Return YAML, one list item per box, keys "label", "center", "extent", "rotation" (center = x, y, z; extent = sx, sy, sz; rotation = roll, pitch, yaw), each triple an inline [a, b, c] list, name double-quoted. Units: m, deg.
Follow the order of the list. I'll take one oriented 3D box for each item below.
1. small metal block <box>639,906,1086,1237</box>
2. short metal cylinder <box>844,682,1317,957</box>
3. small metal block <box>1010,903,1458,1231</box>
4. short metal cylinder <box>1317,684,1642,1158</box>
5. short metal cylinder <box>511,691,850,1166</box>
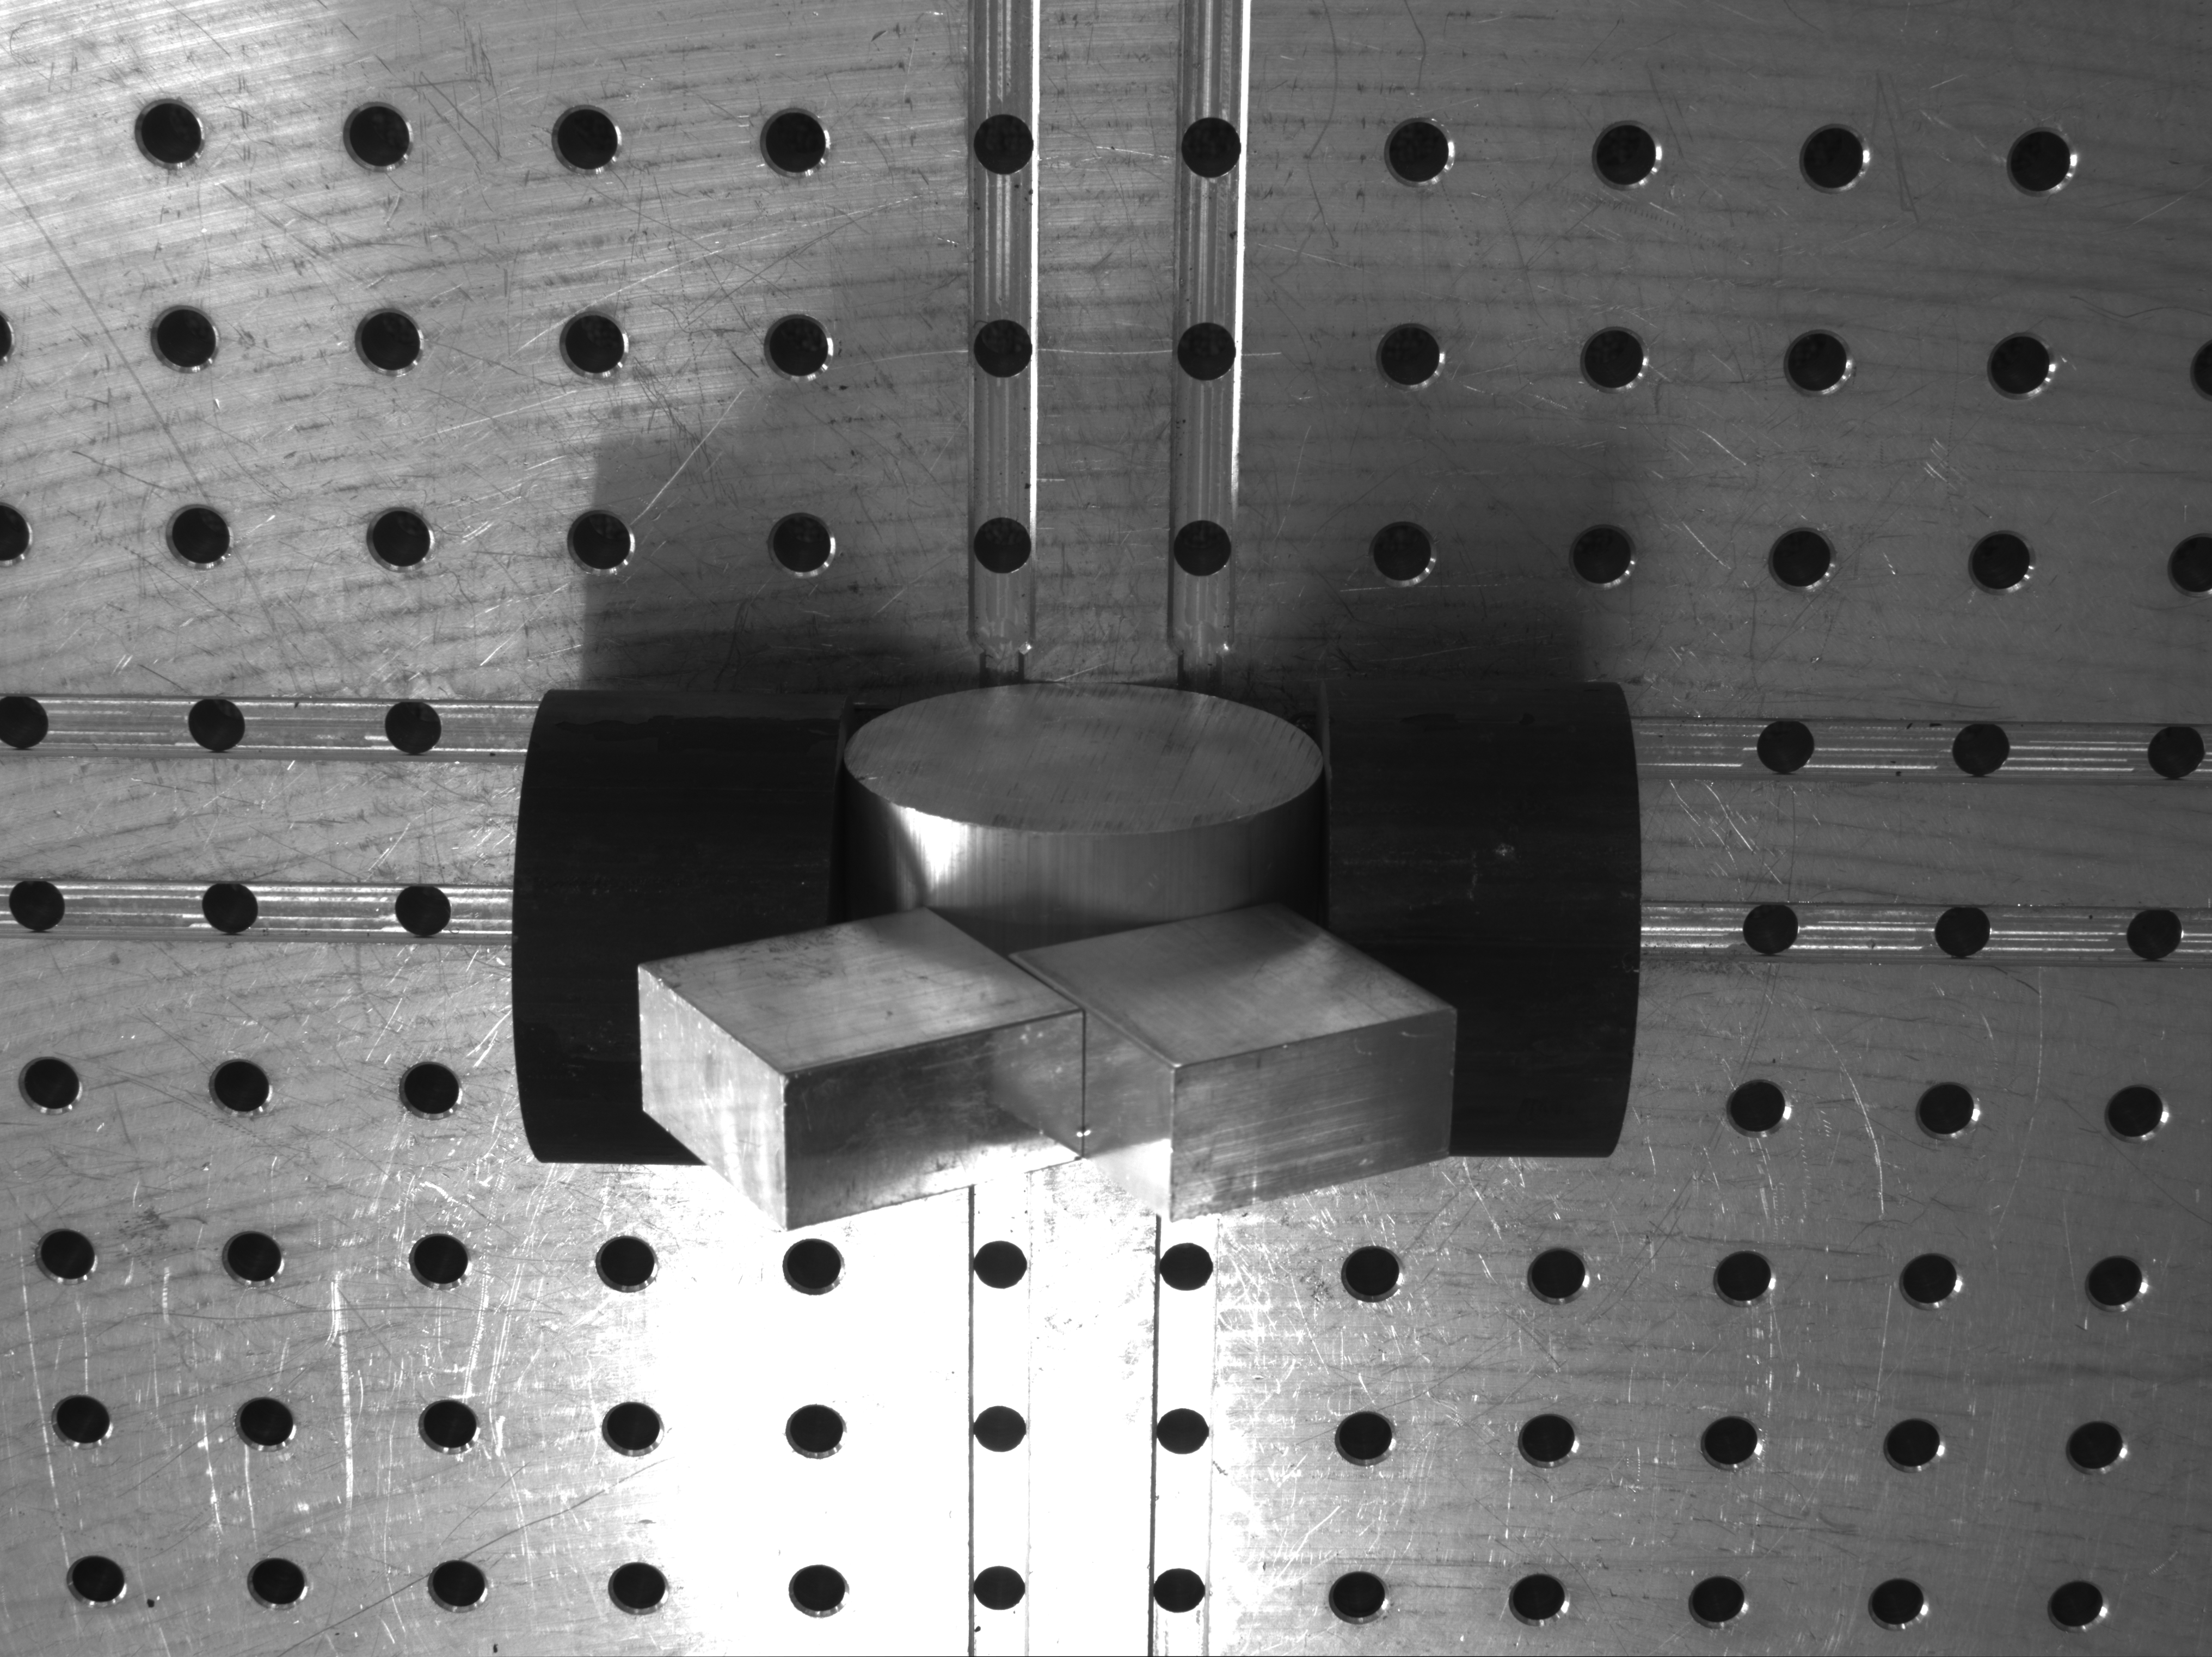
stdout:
- label: "small metal block"
  center: [-0.037, 0.036, 0.560]
  extent: [0.050, 0.050, 0.025]
  rotation: [-11, 113, -29]
- label: "short metal cylinder"
  center: [-0.004, 0.011, 0.621]
  extent: [0.080, 0.080, 0.050]
  rotation: [1, 110, 0]
- label: "small metal block"
  center: [0.019, 0.035, 0.565]
  extent: [0.050, 0.050, 0.025]
  rotation: [-11, 113, -29]
- label: "short metal cylinder"
  center: [0.061, 0.016, 0.622]
  extent: [0.050, 0.080, 0.080]
  rotation: [1, 110, 1]
- label: "short metal cylinder"
  center: [-0.069, 0.017, 0.623]
  extent: [0.050, 0.080, 0.080]
  rotation: [1, 110, 0]
